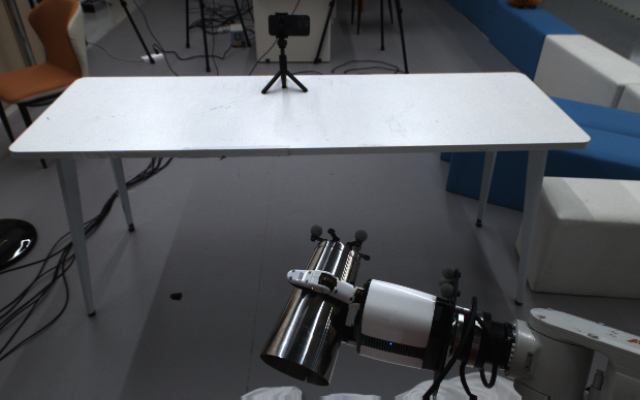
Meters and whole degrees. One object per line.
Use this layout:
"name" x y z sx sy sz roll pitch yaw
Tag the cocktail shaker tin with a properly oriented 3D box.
"cocktail shaker tin" -0.002 0.141 0.632 0.093 0.093 0.170 13 59 15
